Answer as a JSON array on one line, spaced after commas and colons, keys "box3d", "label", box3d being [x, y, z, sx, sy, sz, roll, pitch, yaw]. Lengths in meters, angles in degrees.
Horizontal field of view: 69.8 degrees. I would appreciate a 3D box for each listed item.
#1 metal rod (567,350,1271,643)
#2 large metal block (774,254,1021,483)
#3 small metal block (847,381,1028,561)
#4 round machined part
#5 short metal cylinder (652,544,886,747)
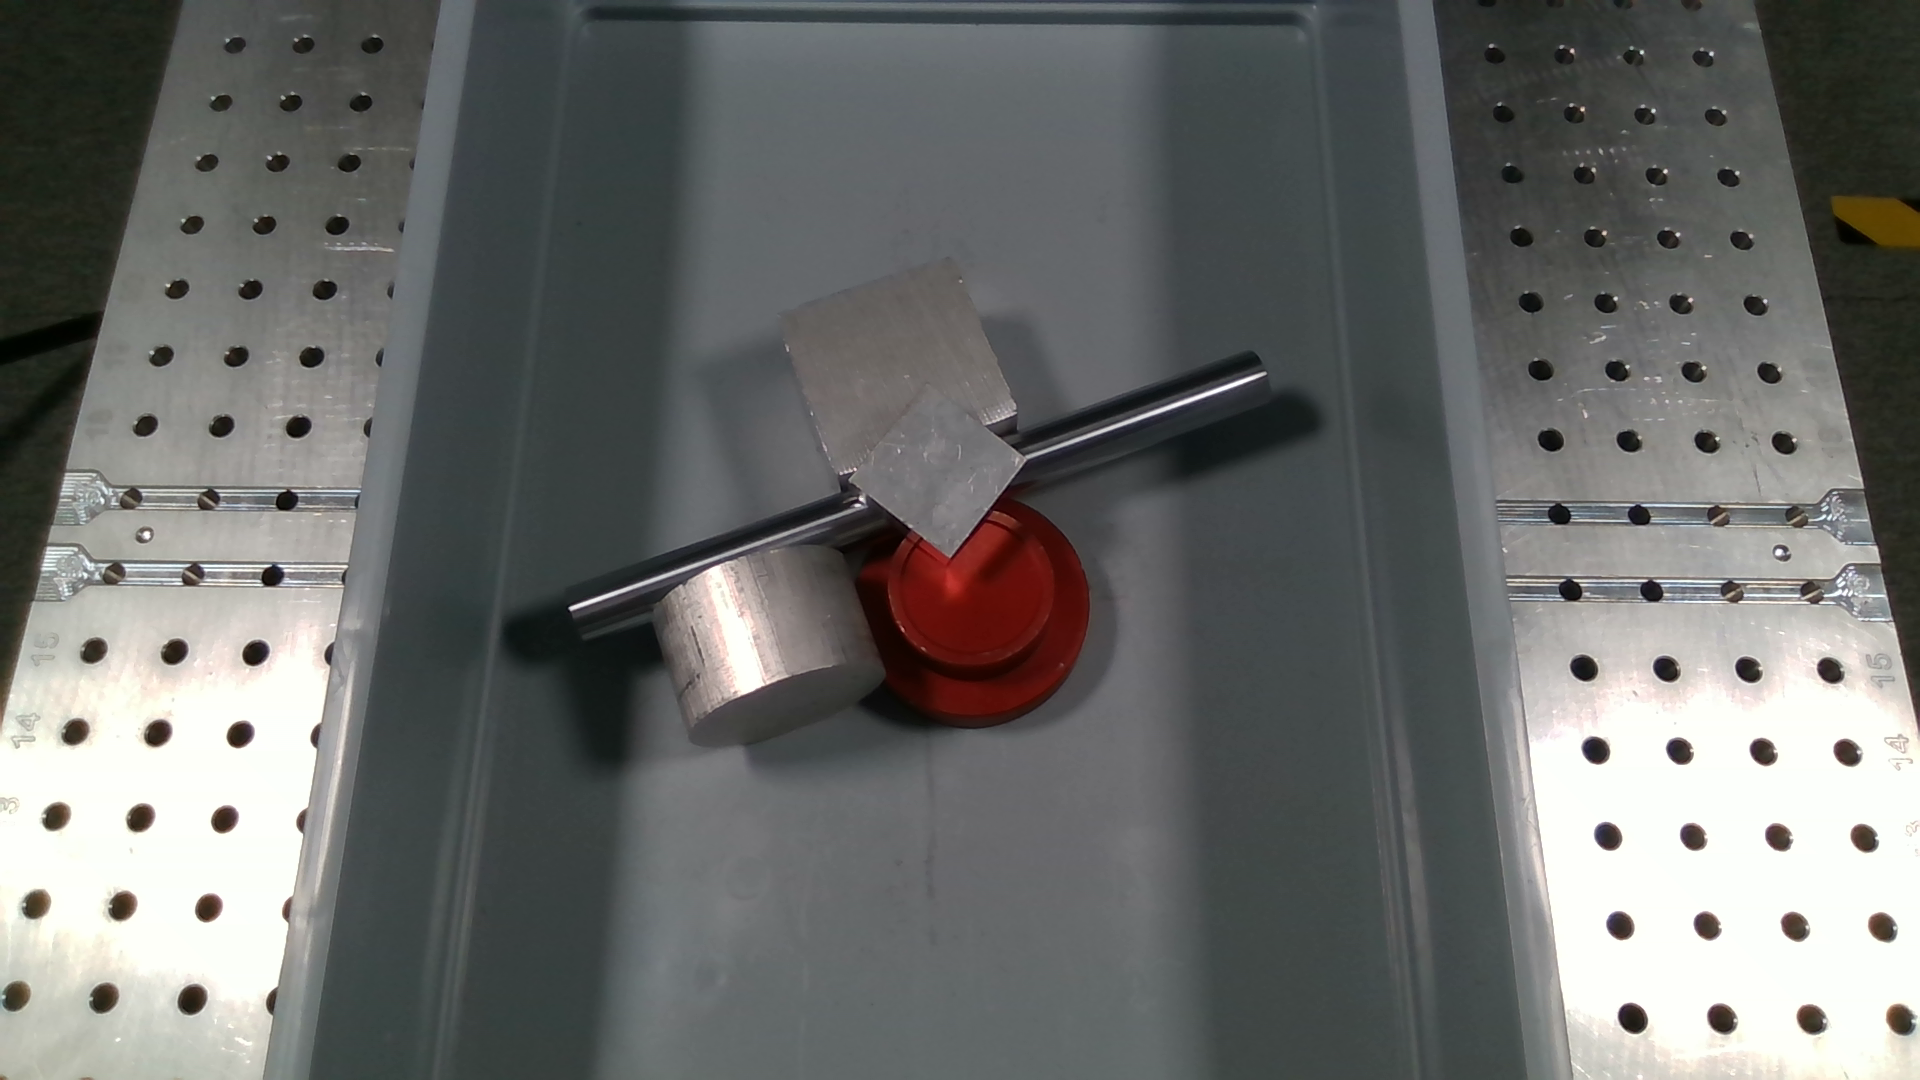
[{"box3d": [-0.013, -0.020, 0.572, 0.300, 0.025, 0.025, -20, 71, -7], "label": "metal rod"}, {"box3d": [-0.027, -0.065, 0.594, 0.080, 0.050, 0.080, -19, 71, -7], "label": "large metal block"}, {"box3d": [-0.009, -0.026, 0.545, 0.050, 0.025, 0.050, 38, 81, 1], "label": "small metal block"}, {"box3d": [0.005, 0.025, 0.568, 0.098, 0.042, 0.098, 0, 70, 0], "label": "round machined part"}, {"box3d": [-0.075, 0.042, 0.542, 0.080, 0.080, 0.050, -20, 71, -7], "label": "short metal cylinder"}]
